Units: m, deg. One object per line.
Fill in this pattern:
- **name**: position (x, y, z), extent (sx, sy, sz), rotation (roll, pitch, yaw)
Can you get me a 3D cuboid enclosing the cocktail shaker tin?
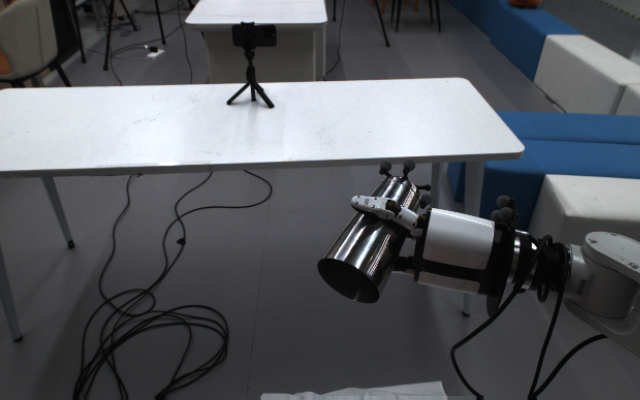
- **cocktail shaker tin**: position (0.080, 0.042, 0.668), extent (0.093, 0.093, 0.170), rotation (19, 55, 22)
